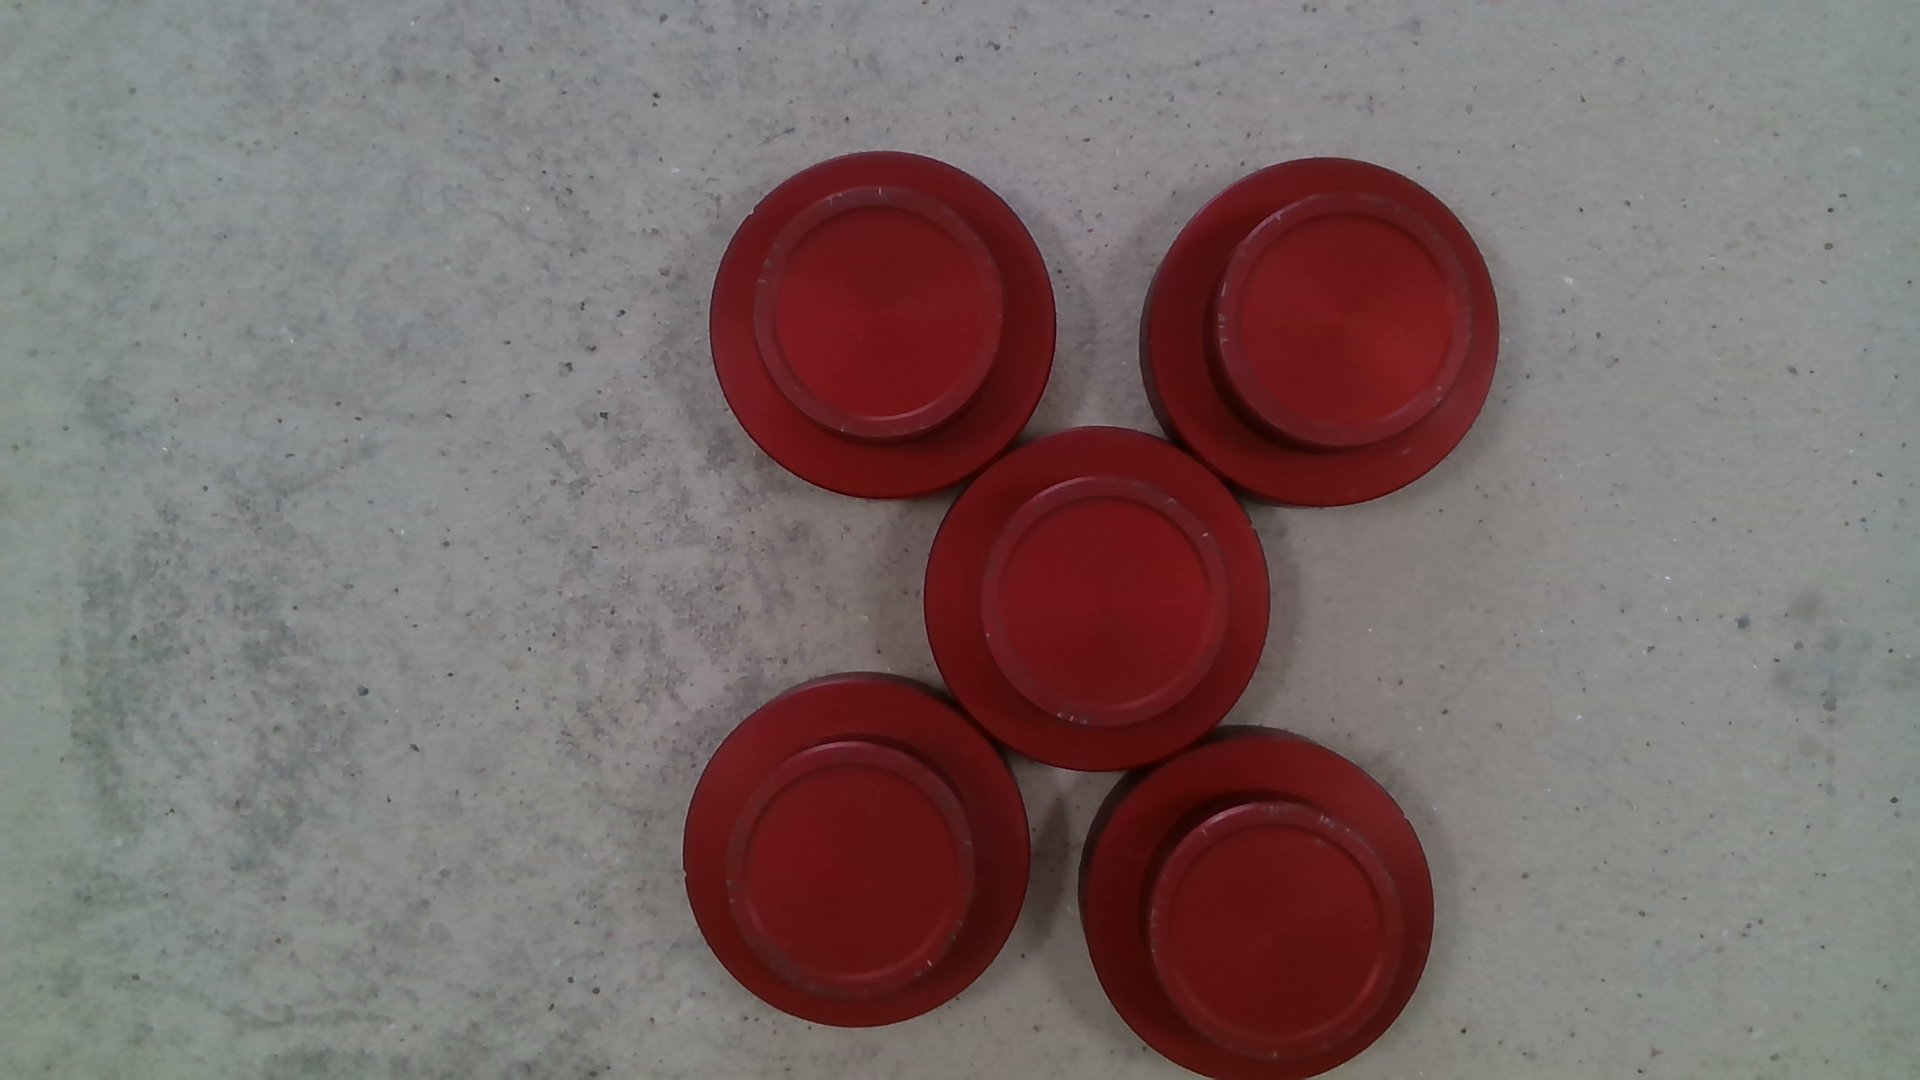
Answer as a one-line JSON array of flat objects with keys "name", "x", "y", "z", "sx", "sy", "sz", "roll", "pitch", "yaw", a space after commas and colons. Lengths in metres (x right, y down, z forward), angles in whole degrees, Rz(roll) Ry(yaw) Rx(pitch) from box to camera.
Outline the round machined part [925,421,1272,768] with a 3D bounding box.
[{"name": "round machined part", "x": 0.039, "y": 0.015, "z": 0.387, "sx": 0.098, "sy": 0.042, "sz": 0.098, "roll": 0, "pitch": 89, "yaw": 2}]

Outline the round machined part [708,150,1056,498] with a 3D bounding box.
[{"name": "round machined part", "x": -0.022, "y": -0.061, "z": 0.386, "sx": 0.098, "sy": 0.042, "sz": 0.098, "roll": 0, "pitch": 90, "yaw": 1}]

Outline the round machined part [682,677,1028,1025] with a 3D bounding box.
[{"name": "round machined part", "x": -0.030, "y": 0.088, "z": 0.387, "sx": 0.098, "sy": 0.042, "sz": 0.098, "roll": 0, "pitch": 89, "yaw": 2}]

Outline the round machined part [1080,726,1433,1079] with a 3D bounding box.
[{"name": "round machined part", "x": 0.084, "y": 0.103, "z": 0.387, "sx": 0.098, "sy": 0.042, "sz": 0.098, "roll": 0, "pitch": 89, "yaw": 2}]

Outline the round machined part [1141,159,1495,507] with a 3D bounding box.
[{"name": "round machined part", "x": 0.102, "y": -0.058, "z": 0.387, "sx": 0.098, "sy": 0.042, "sz": 0.098, "roll": 0, "pitch": 90, "yaw": 0}]
